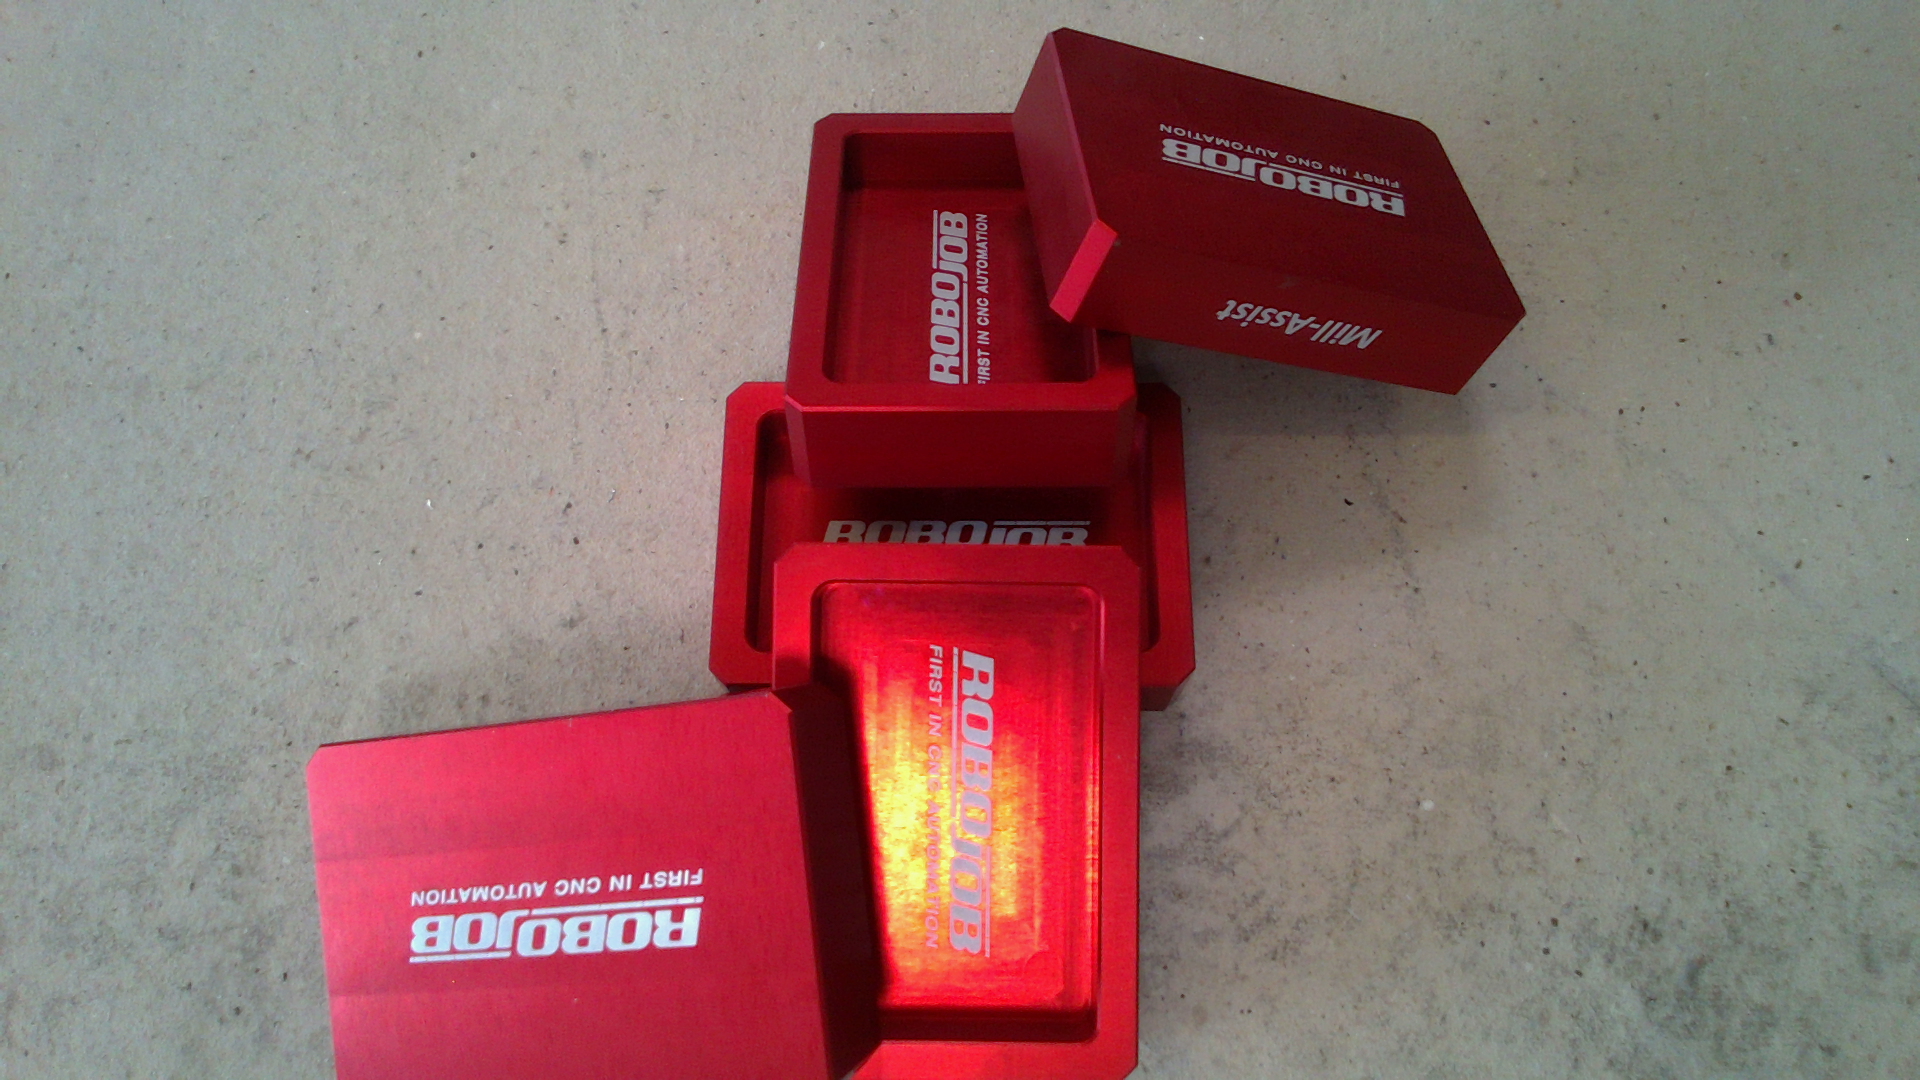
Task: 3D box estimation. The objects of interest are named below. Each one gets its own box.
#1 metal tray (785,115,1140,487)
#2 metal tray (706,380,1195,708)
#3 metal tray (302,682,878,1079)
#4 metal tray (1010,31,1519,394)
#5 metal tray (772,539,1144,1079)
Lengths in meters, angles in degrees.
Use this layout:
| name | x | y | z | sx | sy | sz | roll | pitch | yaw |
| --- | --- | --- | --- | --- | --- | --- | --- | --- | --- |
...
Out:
| name | x | y | z | sx | sy | sz | roll | pitch | yaw |
| --- | --- | --- | --- | --- | --- | --- | --- | --- | --- |
| metal tray | 0.001 | -0.073 | 0.397 | 0.090 | 0.030 | 0.130 | 0 | 50 | 0 |
| metal tray | -0.002 | 0.001 | 0.392 | 0.130 | 0.030 | 0.090 | 0 | 70 | 0 |
| metal tray | -0.090 | 0.086 | 0.329 | 0.130 | 0.030 | 0.090 | -8 | 86 | 16 |
| metal tray | 0.084 | -0.093 | 0.393 | 0.130 | 0.030 | 0.090 | 8 | 49 | -19 |
| metal tray | -0.001 | 0.066 | 0.347 | 0.090 | 0.030 | 0.130 | 1 | 89 | 0 |
